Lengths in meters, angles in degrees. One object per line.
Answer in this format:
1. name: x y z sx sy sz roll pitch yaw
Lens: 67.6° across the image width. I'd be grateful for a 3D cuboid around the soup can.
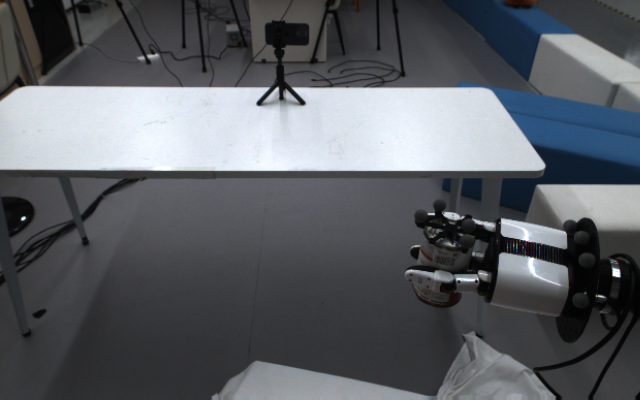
1. soup can: 0.166 0.084 0.649 0.067 0.101 0.067 2 32 -1
